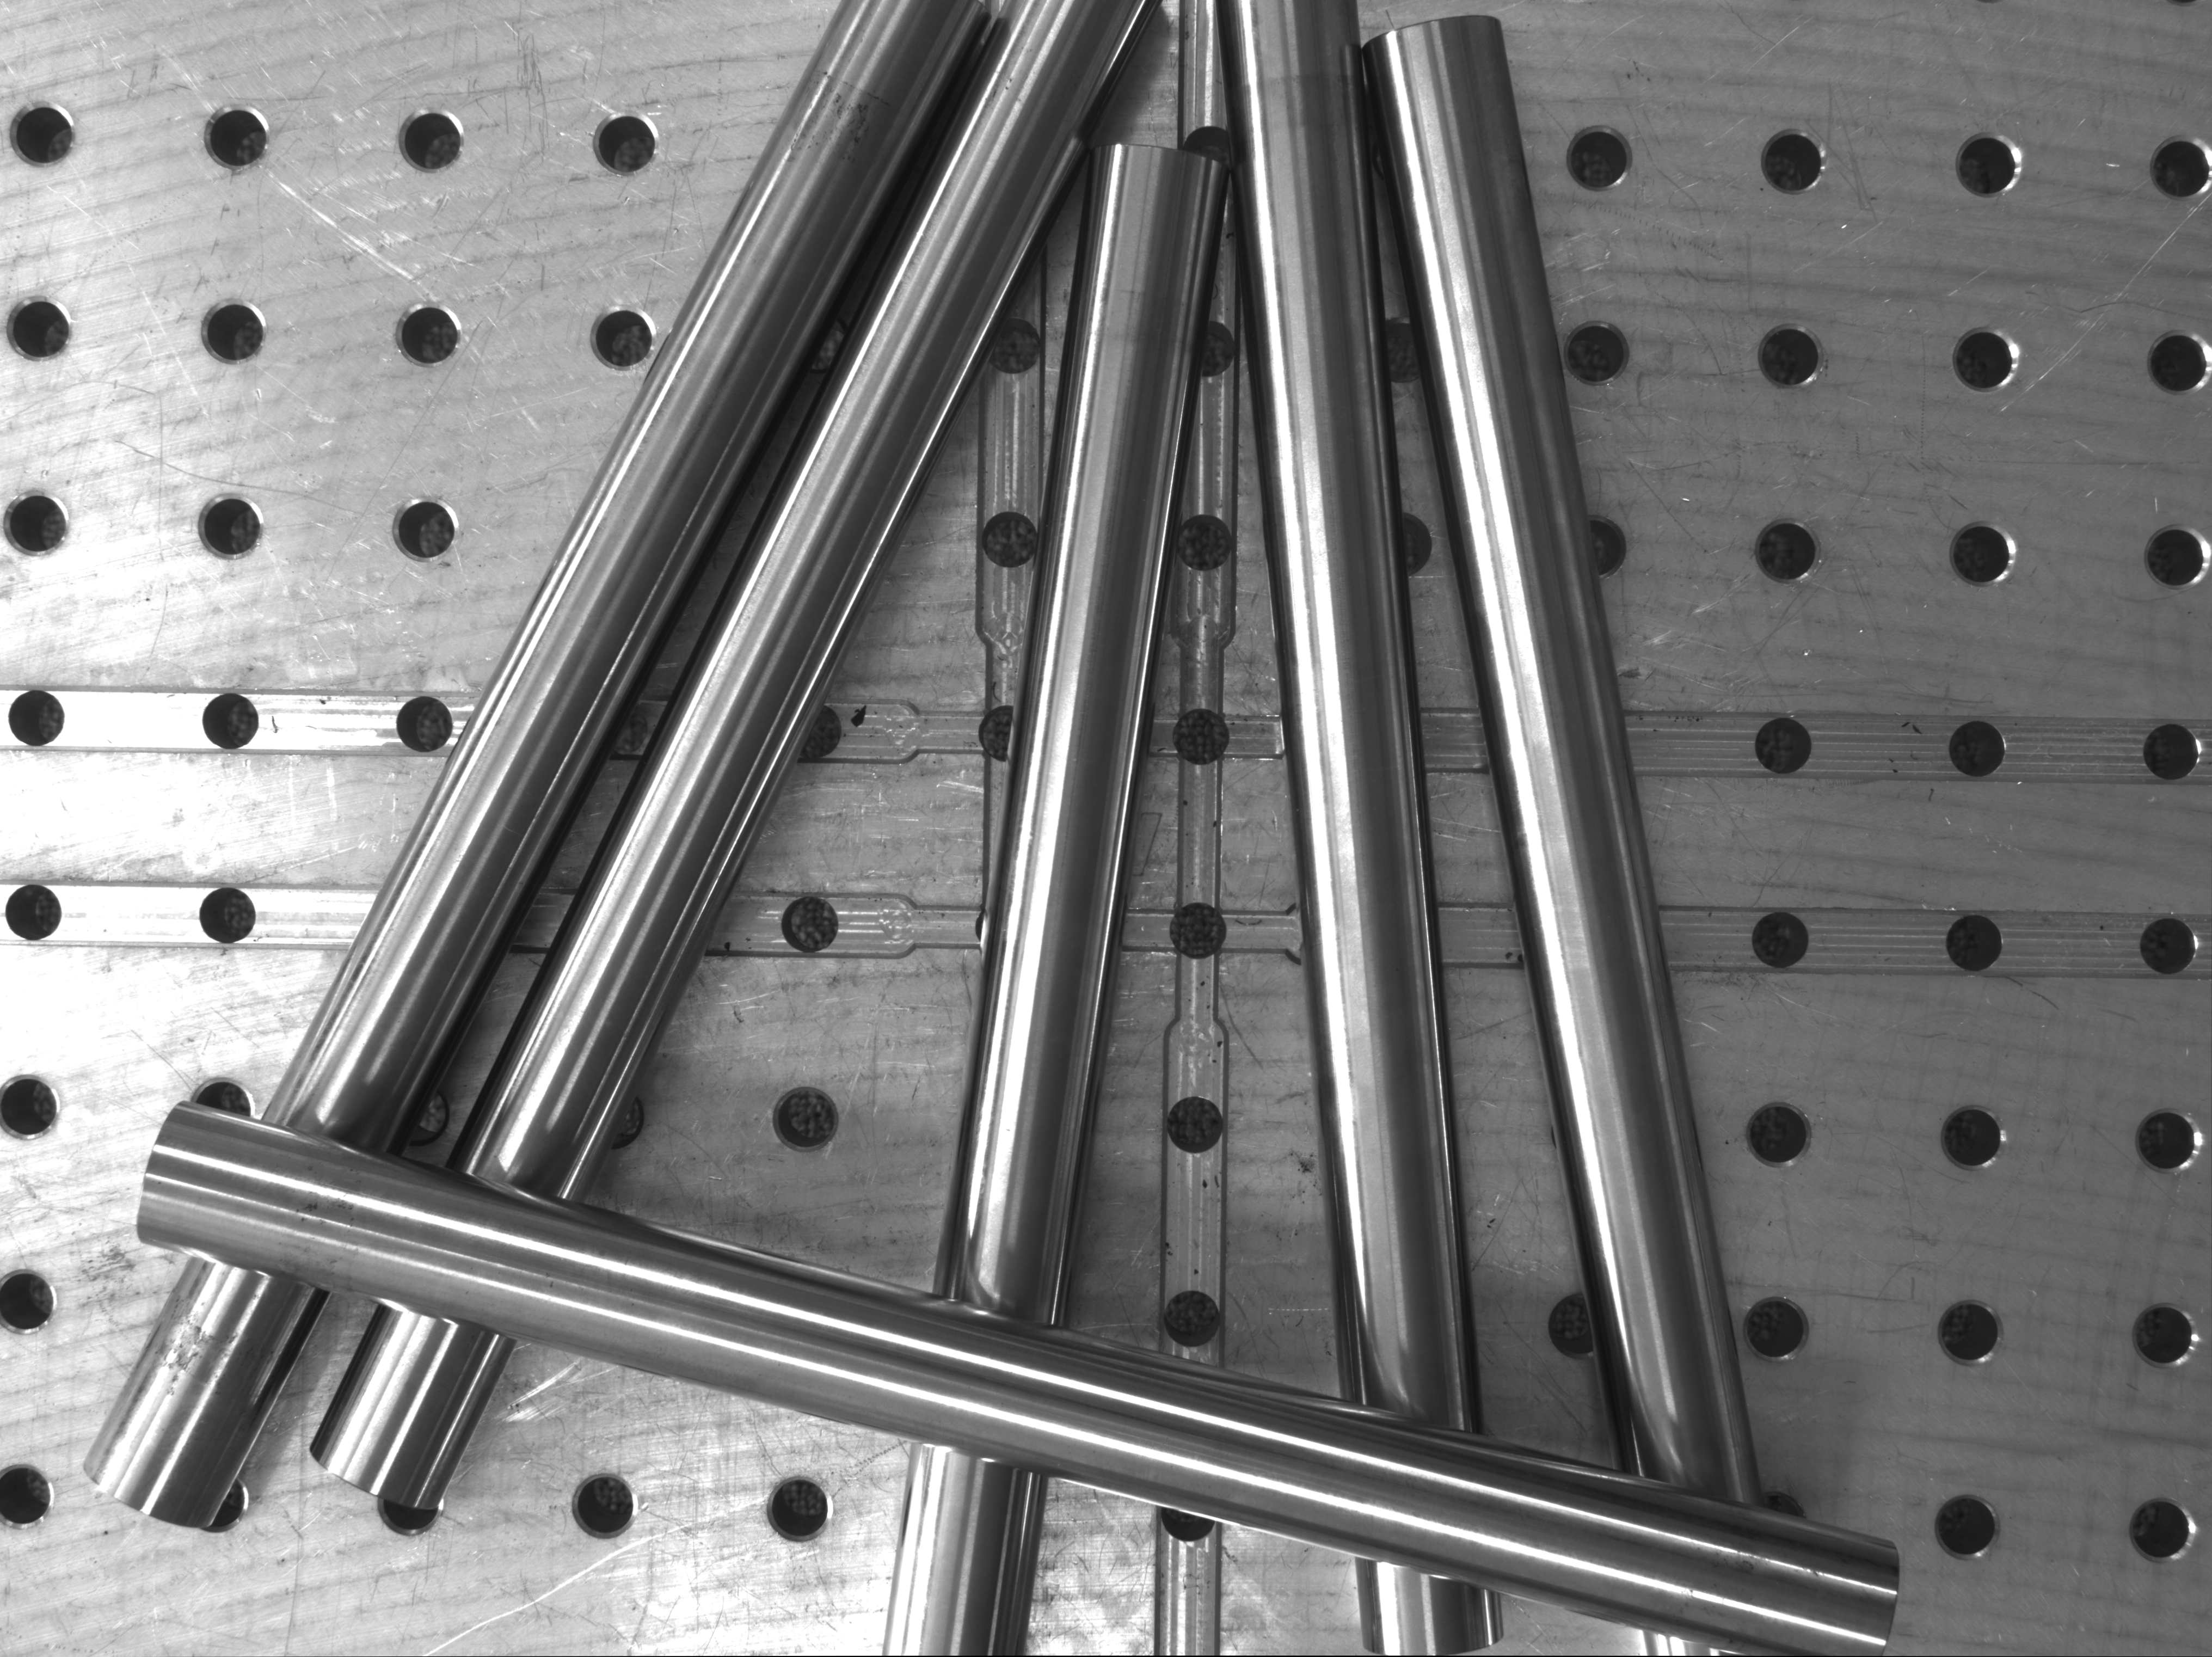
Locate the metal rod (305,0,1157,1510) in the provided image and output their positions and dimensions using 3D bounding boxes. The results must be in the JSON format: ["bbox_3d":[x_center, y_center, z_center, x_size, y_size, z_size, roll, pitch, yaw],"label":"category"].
[{"bbox_3d":[-0.065,-0.021,0.649,0.025,0.025,0.300,26,90,0],"label":"metal rod"}]

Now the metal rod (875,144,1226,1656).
[{"bbox_3d":[-0.012,0.031,0.648,0.025,0.025,0.300,8,90,0],"label":"metal rod"}]

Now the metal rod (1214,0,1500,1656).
[{"bbox_3d":[0.044,-0.006,0.648,0.025,0.025,0.300,-5,90,0],"label":"metal rod"}]

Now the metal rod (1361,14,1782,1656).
[{"bbox_3d":[0.083,0.008,0.648,0.025,0.025,0.300,-10,90,0],"label":"metal rod"}]

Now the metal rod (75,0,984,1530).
[{"bbox_3d":[-0.101,-0.016,0.647,0.025,0.025,0.300,27,90,0],"label":"metal rod"}]
